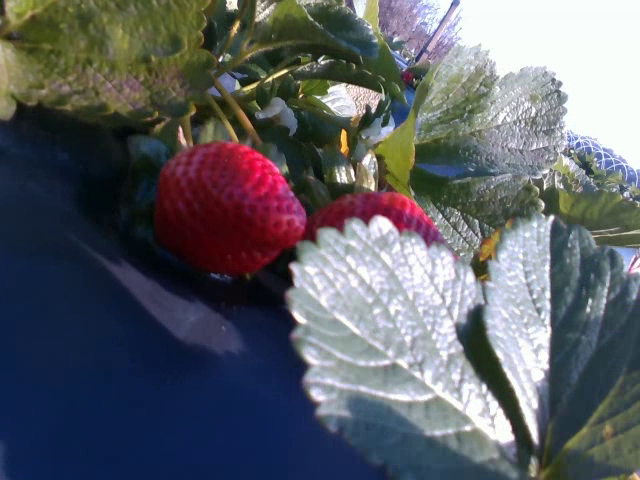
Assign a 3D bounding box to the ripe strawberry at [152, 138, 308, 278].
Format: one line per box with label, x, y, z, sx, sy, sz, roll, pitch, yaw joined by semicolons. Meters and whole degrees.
ripe strawberry;-0.020;-0.007;0.149;0.043;0.037;0.051;-25;35;-35
